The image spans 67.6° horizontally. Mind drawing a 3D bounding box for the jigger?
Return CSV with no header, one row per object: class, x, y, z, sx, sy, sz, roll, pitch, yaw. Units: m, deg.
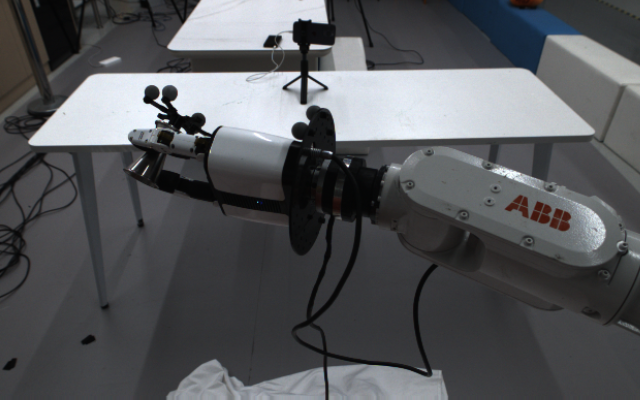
jigger,-0.192,-0.055,0.557,0.043,0.043,0.071,20,74,24
